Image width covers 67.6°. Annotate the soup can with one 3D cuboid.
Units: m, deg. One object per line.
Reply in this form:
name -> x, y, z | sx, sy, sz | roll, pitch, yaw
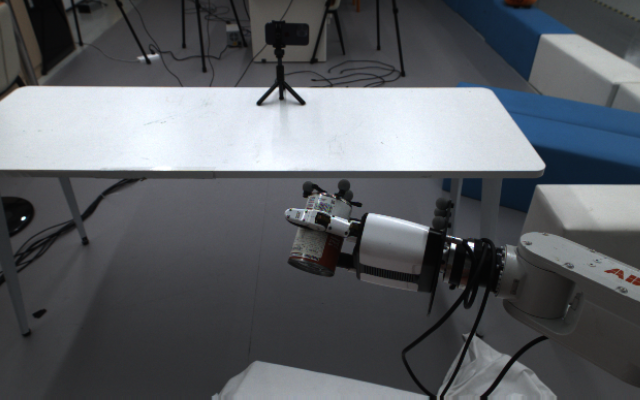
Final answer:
soup can -> 0.003, 0.048, 0.676 | 0.067, 0.067, 0.101 | 12, 70, 14
